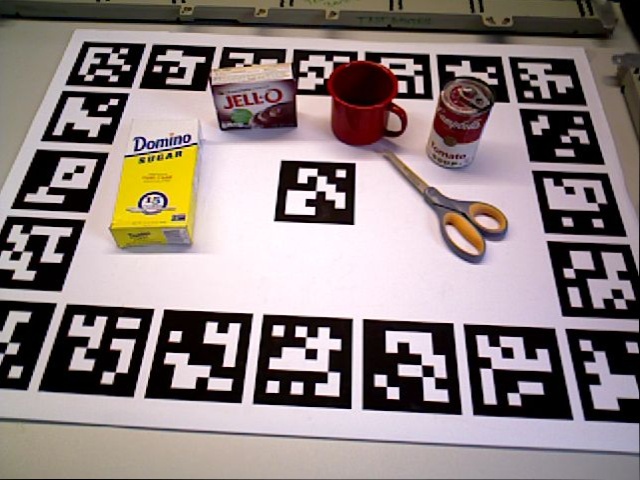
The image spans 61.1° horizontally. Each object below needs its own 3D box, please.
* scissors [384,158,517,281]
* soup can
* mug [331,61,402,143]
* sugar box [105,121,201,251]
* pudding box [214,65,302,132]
[{"bbox_3d":[0.153,-0.041,0.680,0.087,0.016,0.202,-39,68,-9],"label":"scissors"},{"bbox_3d":[0.181,-0.140,0.696,0.067,0.104,0.067,-1,58,0],"label":"soup can"},{"bbox_3d":[0.068,-0.178,0.723,0.092,0.083,0.116,-30,63,-14],"label":"mug"},{"bbox_3d":[-0.207,-0.072,0.690,0.092,0.046,0.174,-1,62,2],"label":"sugar box"},{"bbox_3d":[-0.080,-0.189,0.722,0.113,0.091,0.038,-5,66,-3],"label":"pudding box"}]
